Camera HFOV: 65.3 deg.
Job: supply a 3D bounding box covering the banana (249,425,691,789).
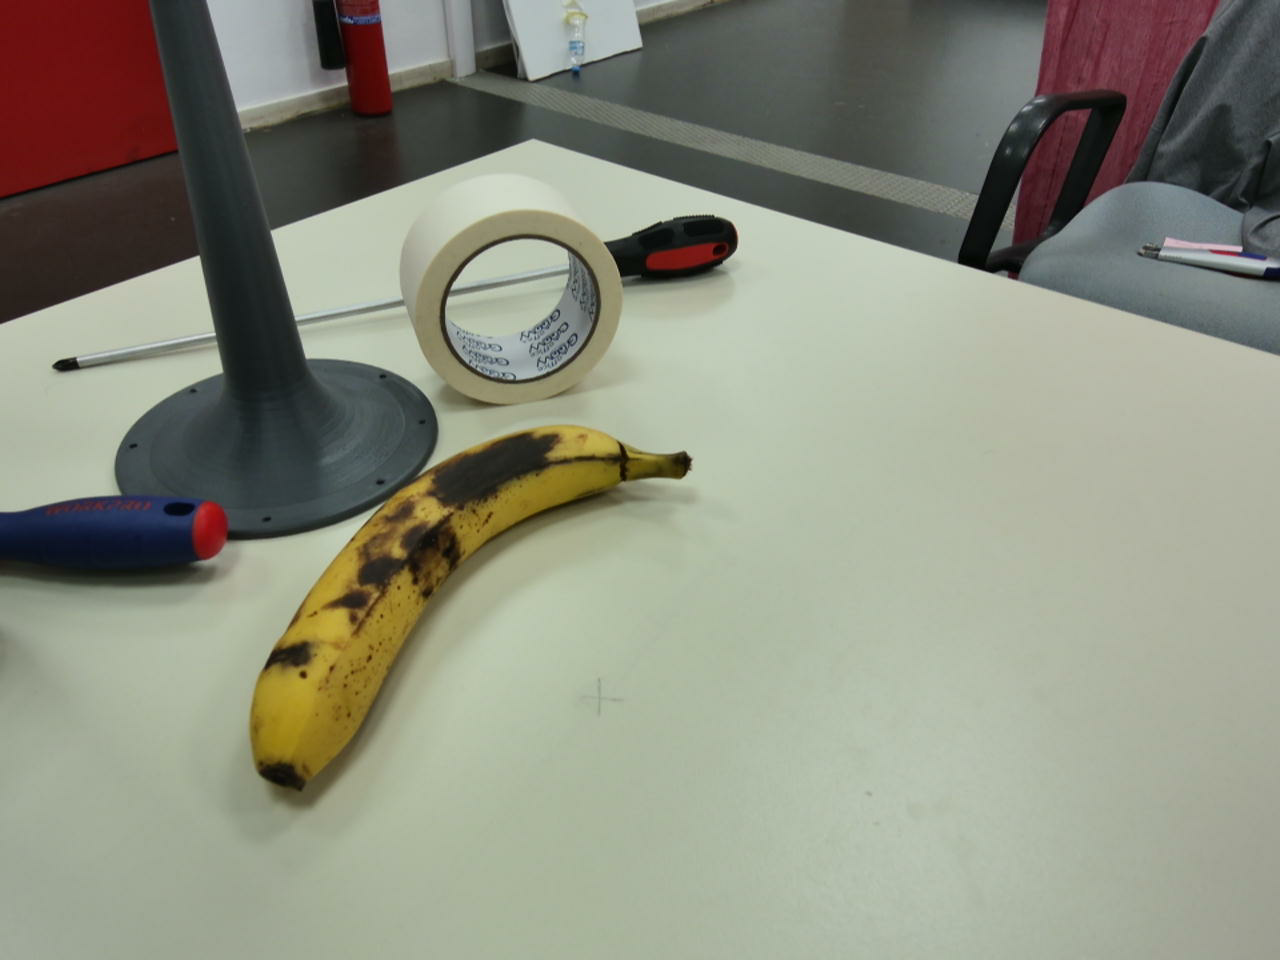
[{"bbox_3d":[-0.075,0.028,0.397,0.084,0.037,0.222,25,42,29],"label":"banana"}]
